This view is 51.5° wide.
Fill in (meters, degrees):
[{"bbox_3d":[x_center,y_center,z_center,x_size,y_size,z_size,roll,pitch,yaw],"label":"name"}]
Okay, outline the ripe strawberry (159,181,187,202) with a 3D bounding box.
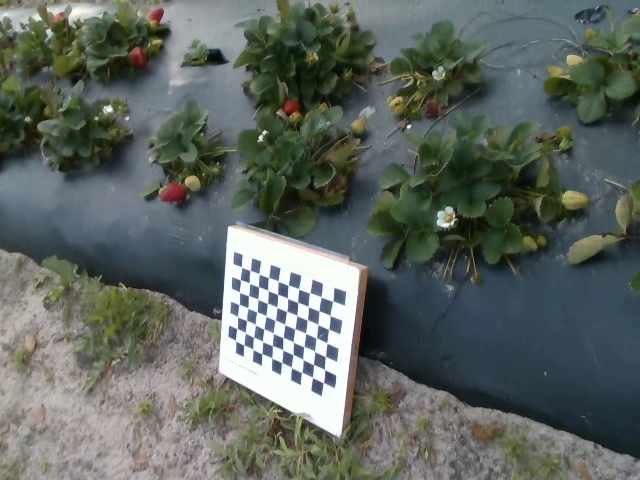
[{"bbox_3d":[-0.311,-0.089,1.349,0.046,0.046,0.059,10,35,41],"label":"ripe strawberry"}]
